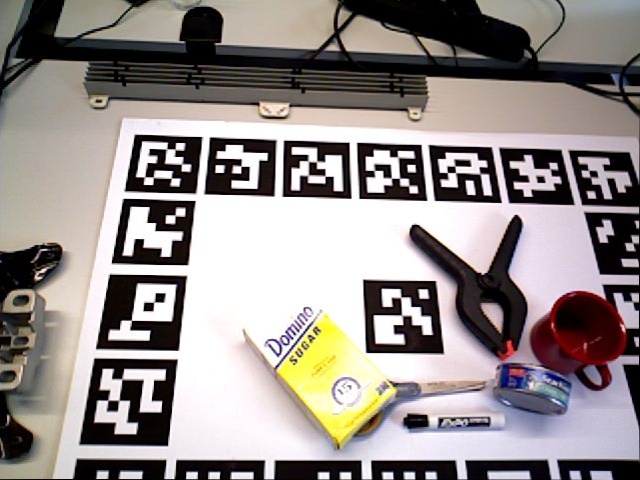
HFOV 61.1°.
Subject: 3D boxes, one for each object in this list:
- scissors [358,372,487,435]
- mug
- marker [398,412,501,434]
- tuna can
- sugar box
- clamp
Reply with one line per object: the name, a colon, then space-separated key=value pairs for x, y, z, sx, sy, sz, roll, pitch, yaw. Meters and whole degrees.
scissors: x=0.107 y=0.178 z=0.657 sx=0.201 sy=0.016 sz=0.087 roll=-8 pitch=62 yaw=-10
mug: x=0.315 y=0.131 z=0.665 sx=0.092 sy=0.083 sz=0.116 roll=-24 pitch=65 yaw=-16
marker: x=0.153 y=0.217 z=0.644 sx=0.120 sy=0.020 sz=0.019 roll=-2 pitch=65 yaw=-5
tuna can: x=0.257 y=0.174 z=0.635 sx=0.085 sy=0.087 sz=0.033 roll=17 pitch=63 yaw=4
sugar box: x=0.003 y=0.147 z=0.645 sx=0.091 sy=0.046 sz=0.176 roll=-33 pitch=65 yaw=-19
clamp: x=0.221 y=0.060 z=0.725 sx=0.164 sy=0.037 sz=0.201 roll=-8 pitch=67 yaw=-8
